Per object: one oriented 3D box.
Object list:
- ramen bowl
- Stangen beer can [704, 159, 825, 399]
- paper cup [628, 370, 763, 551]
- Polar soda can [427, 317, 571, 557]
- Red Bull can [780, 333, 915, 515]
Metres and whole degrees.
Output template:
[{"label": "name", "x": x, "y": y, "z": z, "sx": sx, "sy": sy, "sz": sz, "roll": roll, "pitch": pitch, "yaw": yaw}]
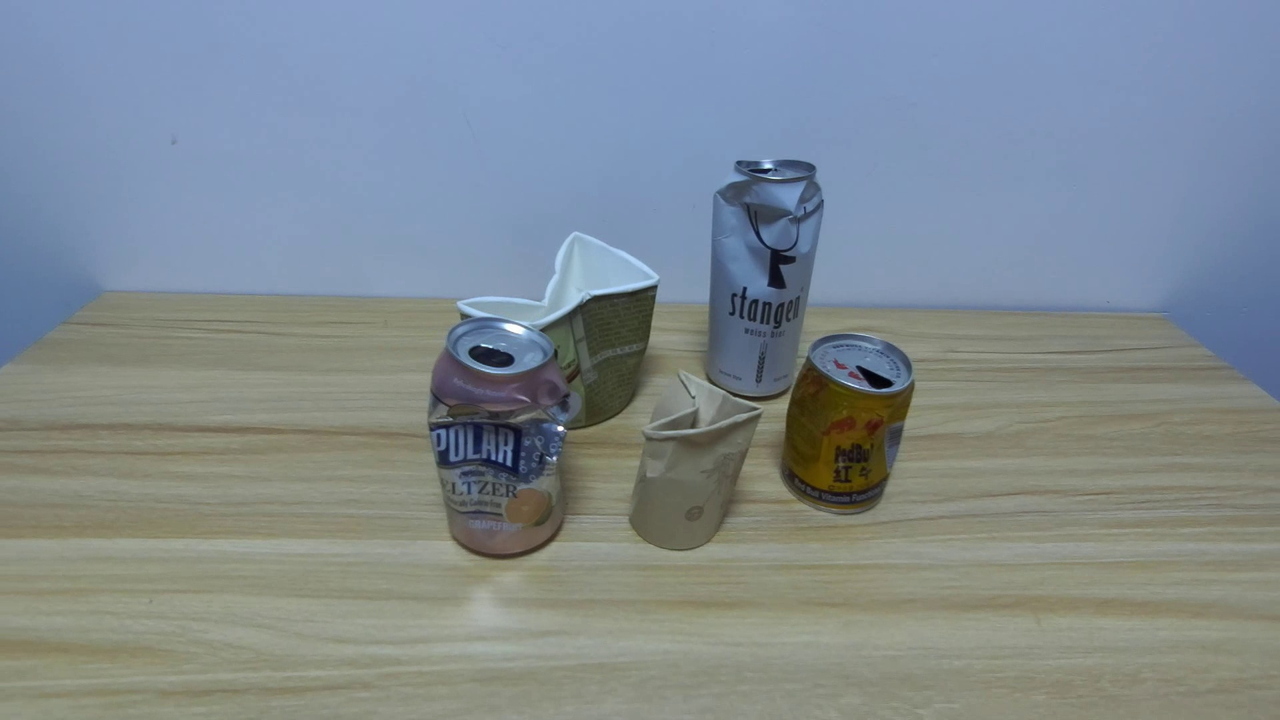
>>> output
[{"label": "ramen bowl", "x": -0.061, "y": -0.018, "z": 0.496, "sx": 0.129, "sy": 0.093, "sz": 0.111, "roll": -25, "pitch": 42, "yaw": -35}, {"label": "Stangen beer can", "x": 0.085, "y": -0.055, "z": 0.496, "sx": 0.065, "sy": 0.166, "sz": 0.066, "roll": 21, "pitch": 36, "yaw": 29}, {"label": "paper cup", "x": 0.022, "y": 0.056, "z": 0.397, "sx": 0.067, "sy": 0.083, "sz": 0.058, "roll": -15, "pitch": 35, "yaw": -27}, {"label": "Polar soda can", "x": -0.071, "y": 0.043, "z": 0.383, "sx": 0.071, "sy": 0.122, "sz": 0.066, "roll": 8, "pitch": 28, "yaw": 9}, {"label": "Red Bull can", "x": 0.123, "y": 0.038, "z": 0.423, "sx": 0.072, "sy": 0.092, "sz": 0.072, "roll": 2, "pitch": 33, "yaw": -1}]
